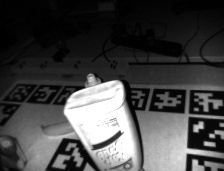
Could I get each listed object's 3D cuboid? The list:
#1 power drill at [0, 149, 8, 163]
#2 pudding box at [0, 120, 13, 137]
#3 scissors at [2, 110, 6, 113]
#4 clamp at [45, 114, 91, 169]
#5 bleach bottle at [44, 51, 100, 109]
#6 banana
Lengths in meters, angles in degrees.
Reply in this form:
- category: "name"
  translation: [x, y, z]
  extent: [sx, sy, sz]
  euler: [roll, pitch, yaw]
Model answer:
- category: "power drill"
  translation: [-0.346, 0.110, 0.522]
  extent: [0.182, 0.188, 0.057]
  euler: [7, 36, 29]
- category: "pudding box"
  translation: [-0.366, 0.115, 0.647]
  extent: [0.113, 0.090, 0.039]
  euler: [2, 35, 19]
- category: "scissors"
  translation: [-0.386, 0.062, 0.615]
  extent: [0.200, 0.016, 0.088]
  euler: [23, 54, 31]
- category: "clamp"
  translation: [-0.068, 0.134, 0.553]
  extent: [0.202, 0.037, 0.165]
  euler: [-3, 41, 11]
- category: "bleach bottle"
  translation: [-0.053, 0.043, 0.489]
  extent: [0.102, 0.253, 0.067]
  euler: [-18, 34, 7]
- category: "banana"
  translation: [-0.199, 0.032, 0.733]
  extent: [0.198, 0.039, 0.073]
  euler: [-26, 22, -14]
